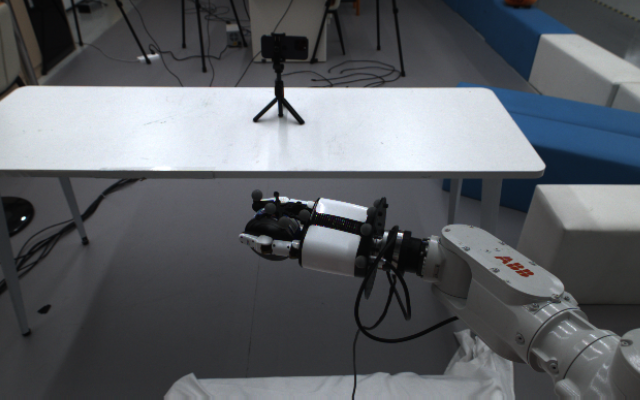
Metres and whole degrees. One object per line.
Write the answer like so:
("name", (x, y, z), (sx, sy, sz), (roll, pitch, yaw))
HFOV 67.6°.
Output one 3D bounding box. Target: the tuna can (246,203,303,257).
("tuna can", (-0.073, 0.052, 0.770), (0.085, 0.085, 0.034), (12, 33, 14))
